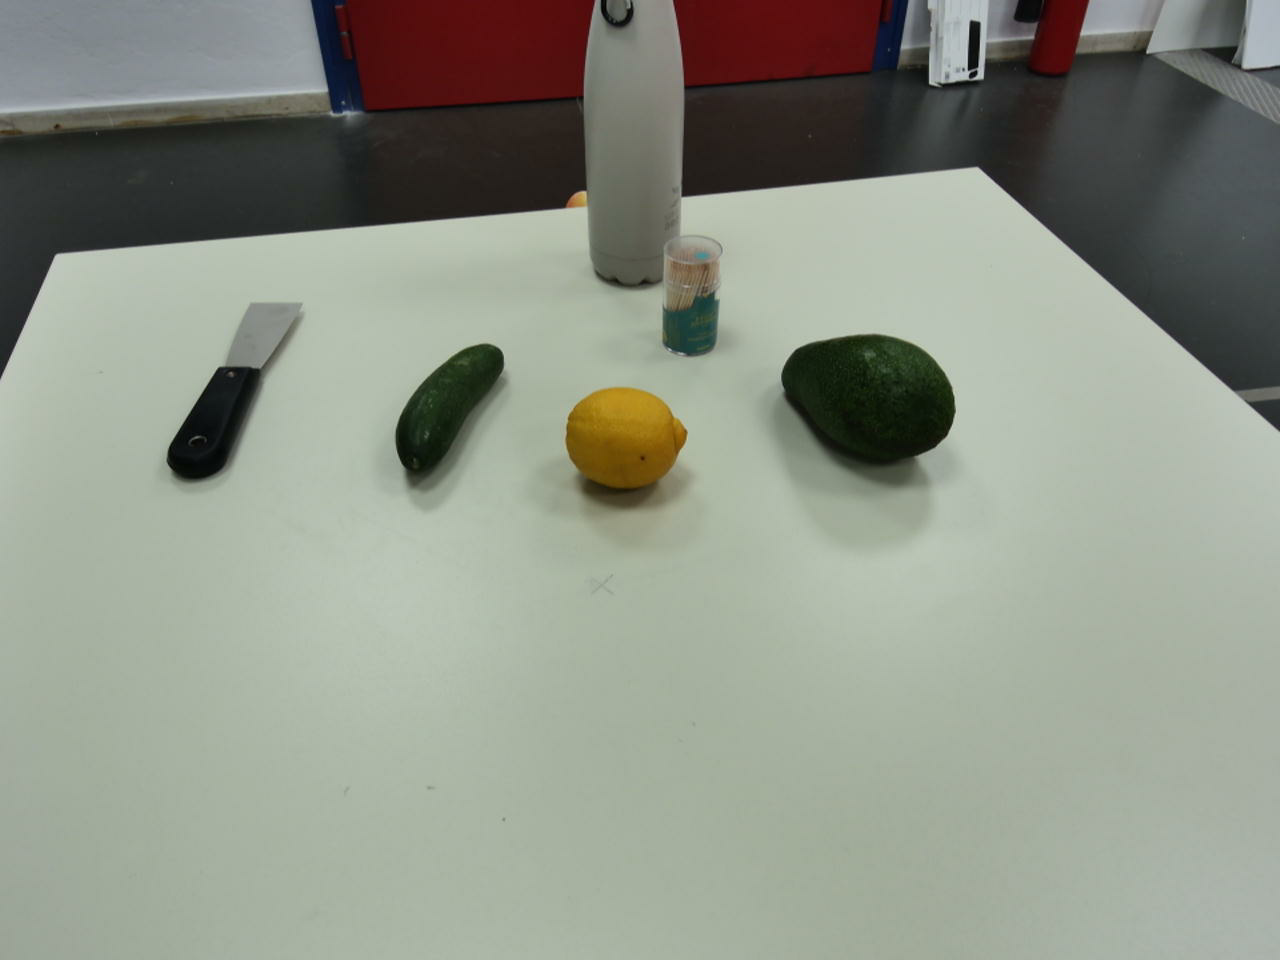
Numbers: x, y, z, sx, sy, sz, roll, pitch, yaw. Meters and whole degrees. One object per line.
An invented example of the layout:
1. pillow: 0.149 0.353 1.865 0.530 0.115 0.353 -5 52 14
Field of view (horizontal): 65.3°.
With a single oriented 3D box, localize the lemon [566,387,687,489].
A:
1. lemon: -0.010 -0.024 0.590 0.067 0.059 0.060 20 43 23
